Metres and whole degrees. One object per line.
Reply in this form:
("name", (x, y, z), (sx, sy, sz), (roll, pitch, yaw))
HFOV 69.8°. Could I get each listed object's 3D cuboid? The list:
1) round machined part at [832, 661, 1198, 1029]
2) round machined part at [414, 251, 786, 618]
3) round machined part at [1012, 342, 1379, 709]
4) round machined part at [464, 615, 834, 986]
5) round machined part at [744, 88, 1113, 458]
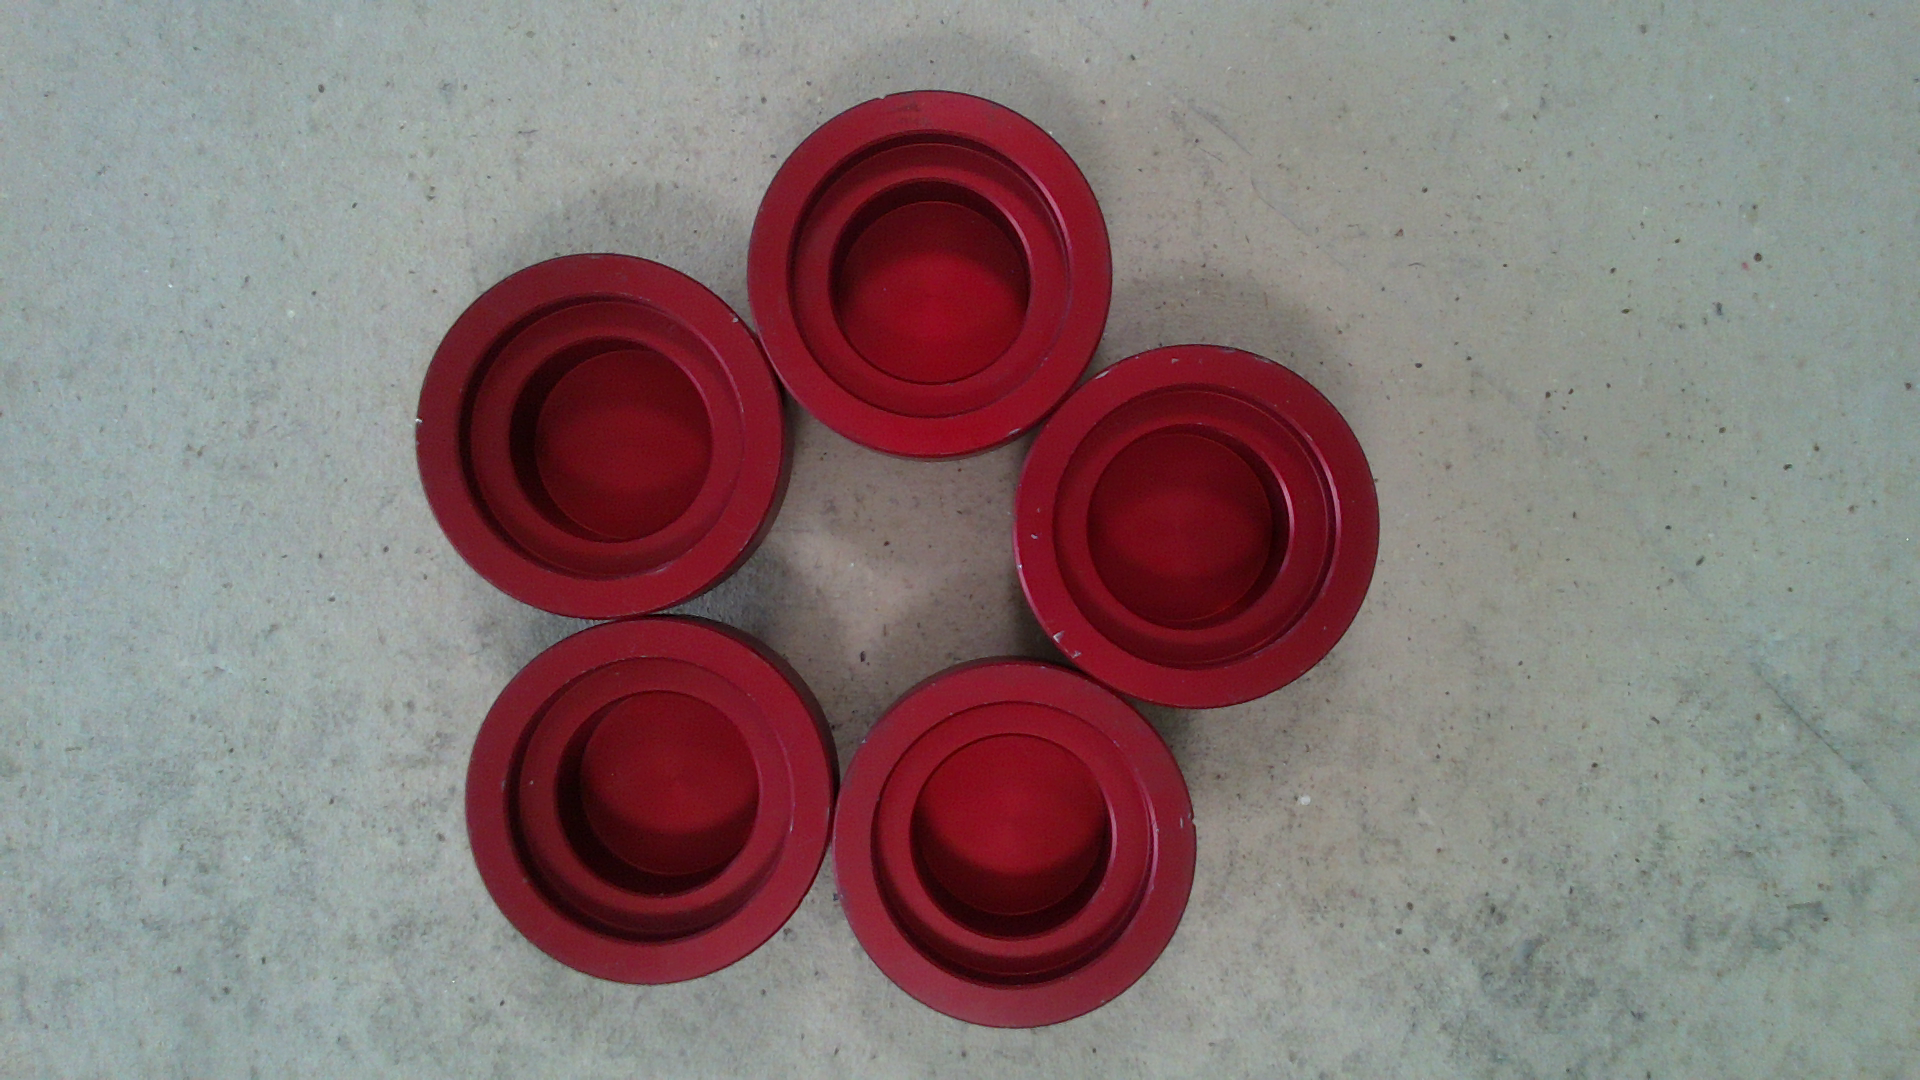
("round machined part", (0.015, 0.082, 0.387), (0.098, 0.042, 0.098), (0, 90, -1))
("round machined part", (-0.096, -0.028, 0.386), (0.098, 0.042, 0.098), (0, 89, 0))
("round machined part", (0.063, -0.004, 0.386), (0.098, 0.042, 0.098), (0, 89, -1))
("round machined part", (-0.083, 0.070, 0.386), (0.098, 0.042, 0.098), (0, 89, -1))
("round machined part", (-0.008, -0.071, 0.386), (0.098, 0.042, 0.098), (0, 89, -1))
